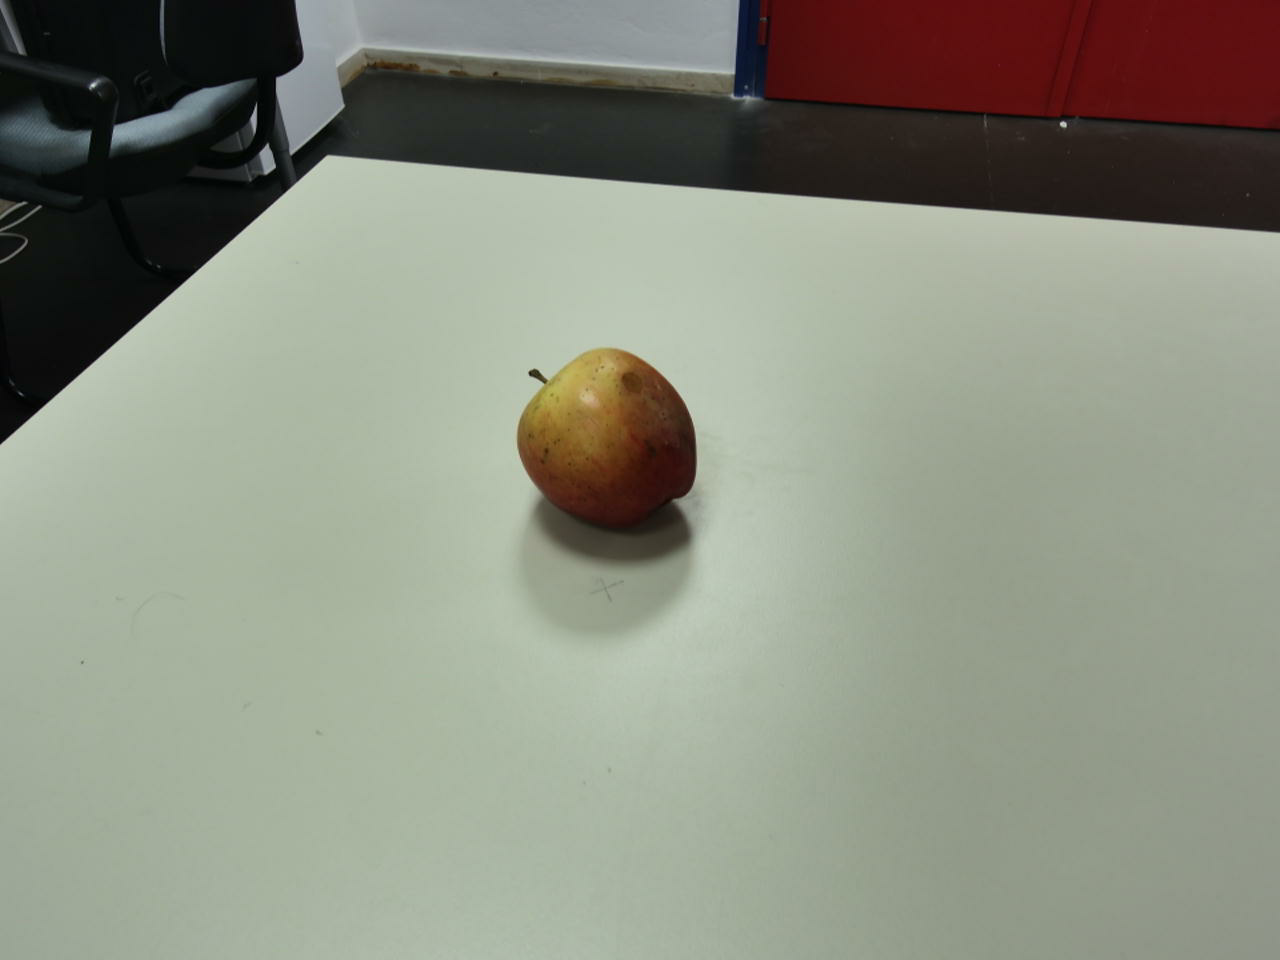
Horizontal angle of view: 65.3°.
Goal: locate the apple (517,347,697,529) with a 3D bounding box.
[{"bbox_3d":[-0.017,-0.021,0.506,0.086,0.084,0.093,-17,41,-18],"label":"apple"}]
